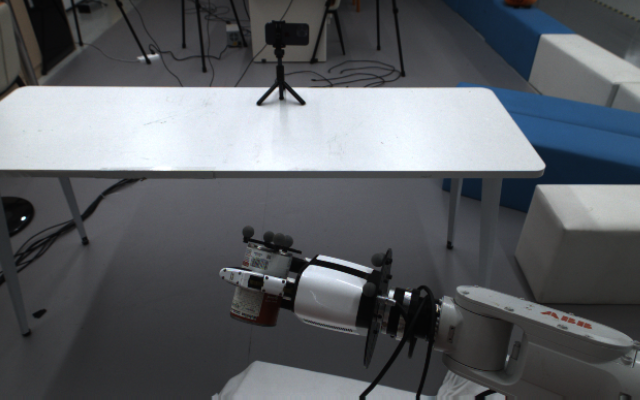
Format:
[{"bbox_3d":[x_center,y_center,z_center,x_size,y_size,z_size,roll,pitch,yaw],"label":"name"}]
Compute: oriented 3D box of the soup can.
[{"bbox_3d":[-0.079,0.118,0.672,0.067,0.101,0.067,13,-6,1],"label":"soup can"}]
